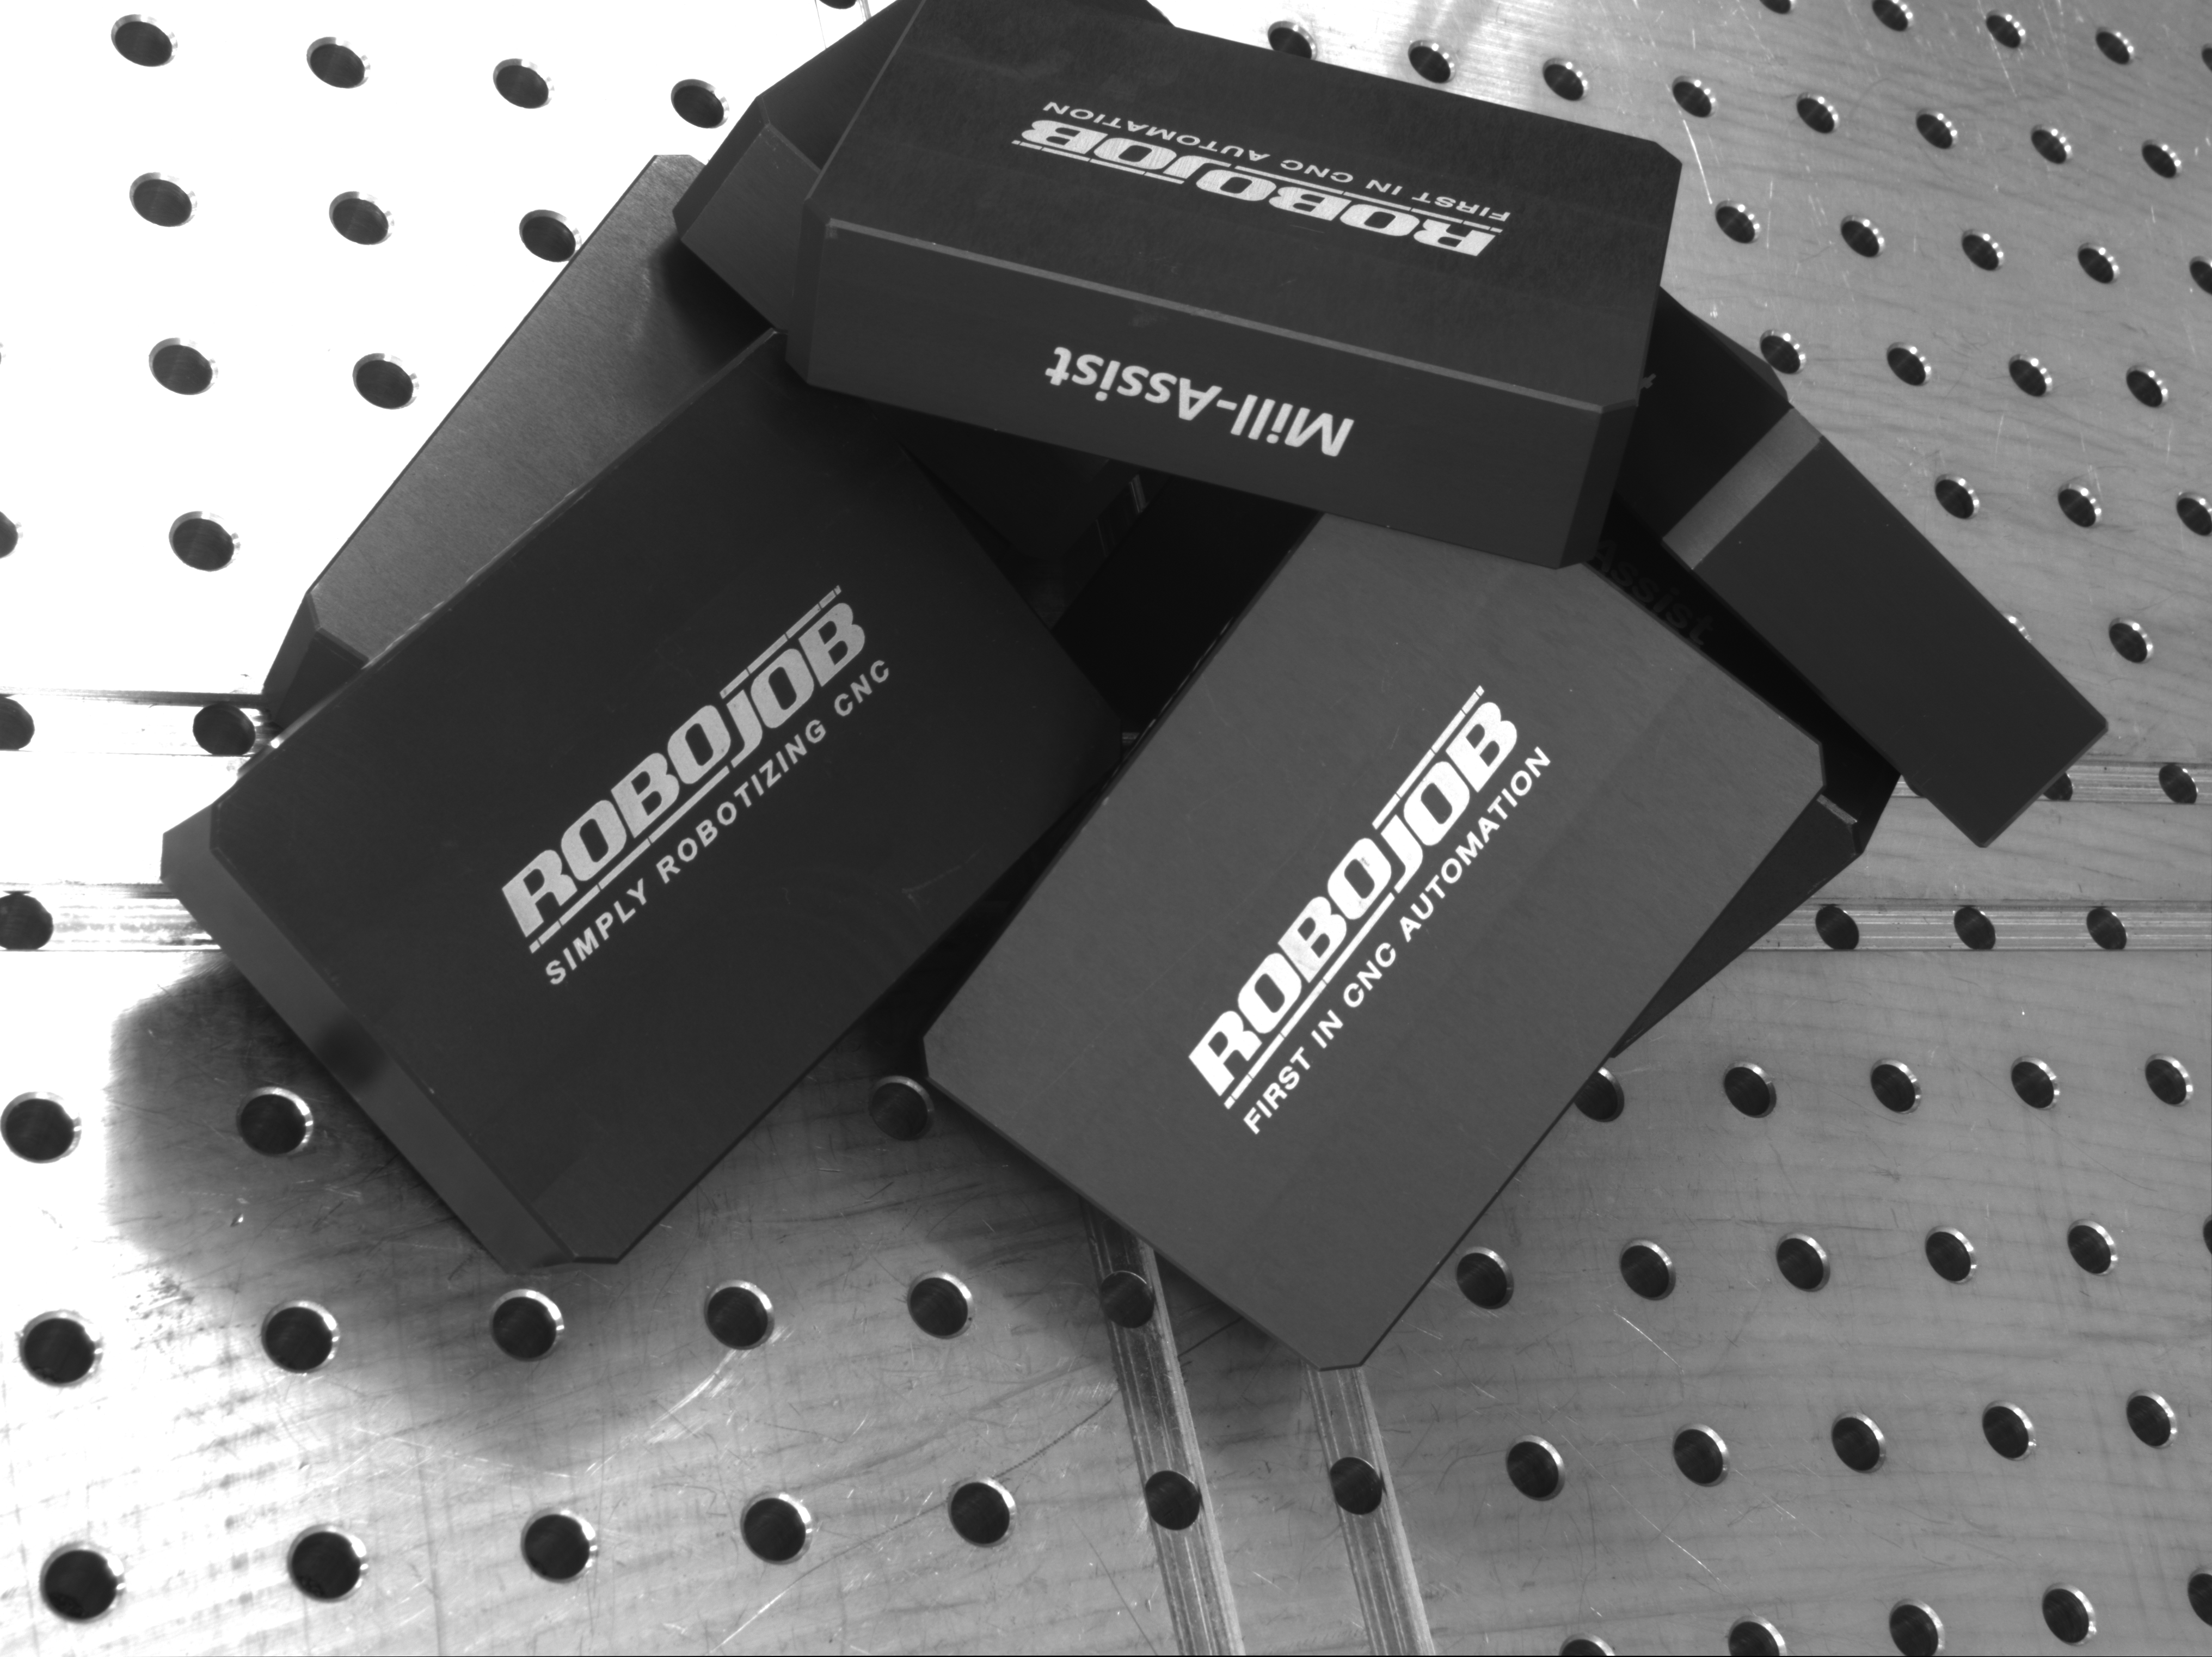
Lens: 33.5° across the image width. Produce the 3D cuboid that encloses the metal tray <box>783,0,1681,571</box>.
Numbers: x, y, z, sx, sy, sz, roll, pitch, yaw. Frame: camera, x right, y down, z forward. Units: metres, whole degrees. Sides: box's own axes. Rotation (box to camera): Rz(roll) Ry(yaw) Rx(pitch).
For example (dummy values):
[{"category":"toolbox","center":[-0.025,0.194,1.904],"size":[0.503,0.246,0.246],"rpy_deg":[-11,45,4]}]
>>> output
[{"category":"metal tray","center":[0.023,-0.092,0.594],"size":[0.130,0.030,0.090],"rpy_deg":[14,39,4]}]

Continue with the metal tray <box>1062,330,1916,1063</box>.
[{"category":"metal tray","center":[0.066,-0.025,0.652],"size":[0.130,0.090,0.030],"rpy_deg":[38,51,-2]}]

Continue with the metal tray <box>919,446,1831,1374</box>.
[{"category":"metal tray","center":[0.043,0.012,0.599],"size":[0.090,0.130,0.030],"rpy_deg":[38,9,-4]}]

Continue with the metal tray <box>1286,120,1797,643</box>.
[{"category":"metal tray","center":[0.086,-0.070,0.699],"size":[0.130,0.030,0.090],"rpy_deg":[24,50,-39]}]

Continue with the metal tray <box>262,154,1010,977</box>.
[{"category":"metal tray","center":[-0.072,-0.047,0.629],"size":[0.090,0.030,0.130],"rpy_deg":[34,51,-6]}]

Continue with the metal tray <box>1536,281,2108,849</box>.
[{"category":"metal tray","center":[0.116,-0.058,0.656],"size":[0.090,0.030,0.130],"rpy_deg":[39,12,-28]}]

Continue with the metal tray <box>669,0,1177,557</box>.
[{"category":"metal tray","center":[-0.012,-0.113,0.678],"size":[0.090,0.030,0.130],"rpy_deg":[41,37,-2]}]

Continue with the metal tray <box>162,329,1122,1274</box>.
[{"category":"metal tray","center":[-0.069,-0.005,0.576],"size":[0.130,0.030,0.090],"rpy_deg":[-45,104,-28]}]
